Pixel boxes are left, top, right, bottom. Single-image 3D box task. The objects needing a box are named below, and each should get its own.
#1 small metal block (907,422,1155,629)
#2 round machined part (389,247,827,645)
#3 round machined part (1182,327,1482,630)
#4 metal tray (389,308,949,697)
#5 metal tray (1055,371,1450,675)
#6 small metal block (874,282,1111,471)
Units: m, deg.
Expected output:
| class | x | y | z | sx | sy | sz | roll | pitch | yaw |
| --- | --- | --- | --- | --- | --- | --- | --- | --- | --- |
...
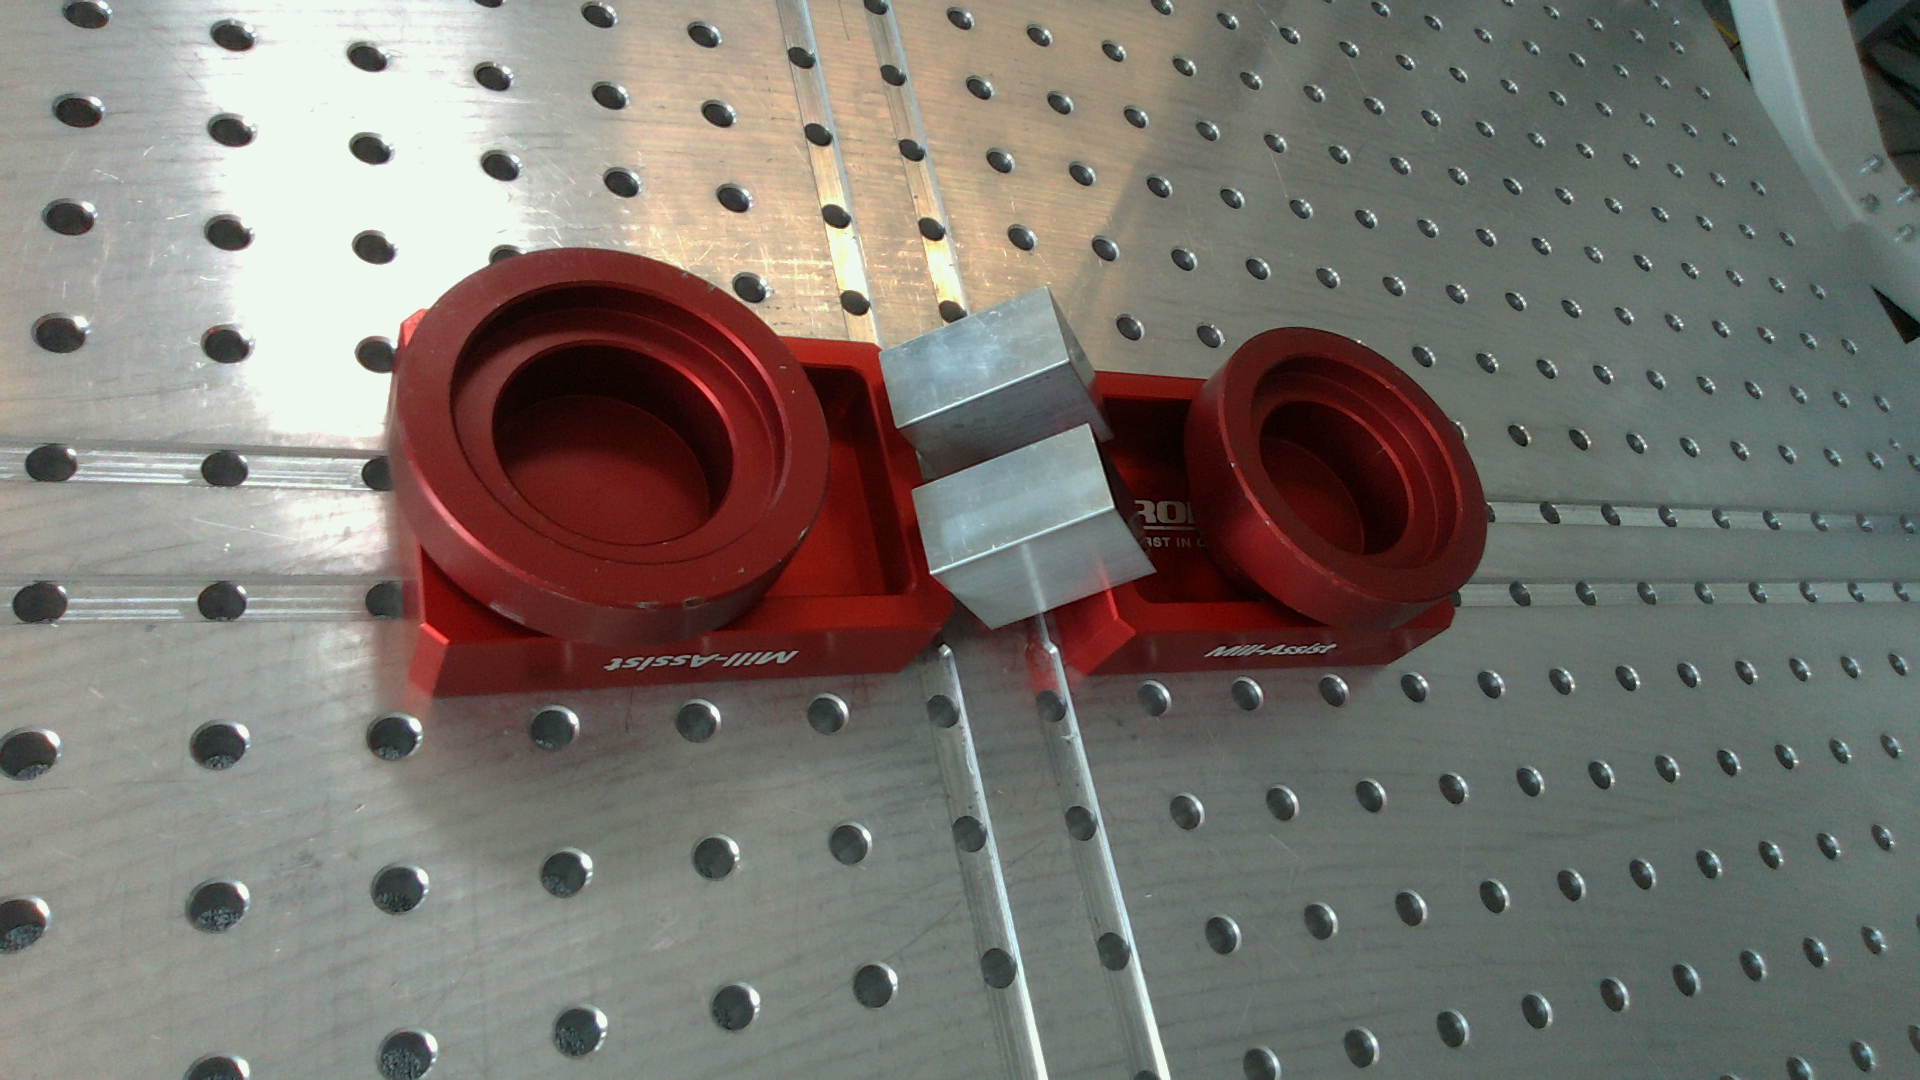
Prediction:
| class | x | y | z | sx | sy | sz | roll | pitch | yaw |
| --- | --- | --- | --- | --- | --- | --- | --- | --- | --- |
| small metal block | 0.020 | -0.002 | 0.370 | 0.050 | 0.050 | 0.025 | -19 | 64 | 12 |
| round machined part | -0.085 | -0.019 | 0.331 | 0.098 | 0.042 | 0.098 | 14 | 56 | -21 |
| round machined part | 0.112 | -0.016 | 0.435 | 0.098 | 0.042 | 0.098 | 14 | 56 | -21 |
| metal tray | -0.075 | -0.010 | 0.357 | 0.130 | 0.030 | 0.090 | -1 | 64 | -29 |
| metal tray | 0.086 | -0.006 | 0.440 | 0.130 | 0.030 | 0.090 | 1 | 61 | -28 |
| small metal block | 0.010 | -0.041 | 0.389 | 0.050 | 0.050 | 0.025 | -19 | 64 | 12 |
